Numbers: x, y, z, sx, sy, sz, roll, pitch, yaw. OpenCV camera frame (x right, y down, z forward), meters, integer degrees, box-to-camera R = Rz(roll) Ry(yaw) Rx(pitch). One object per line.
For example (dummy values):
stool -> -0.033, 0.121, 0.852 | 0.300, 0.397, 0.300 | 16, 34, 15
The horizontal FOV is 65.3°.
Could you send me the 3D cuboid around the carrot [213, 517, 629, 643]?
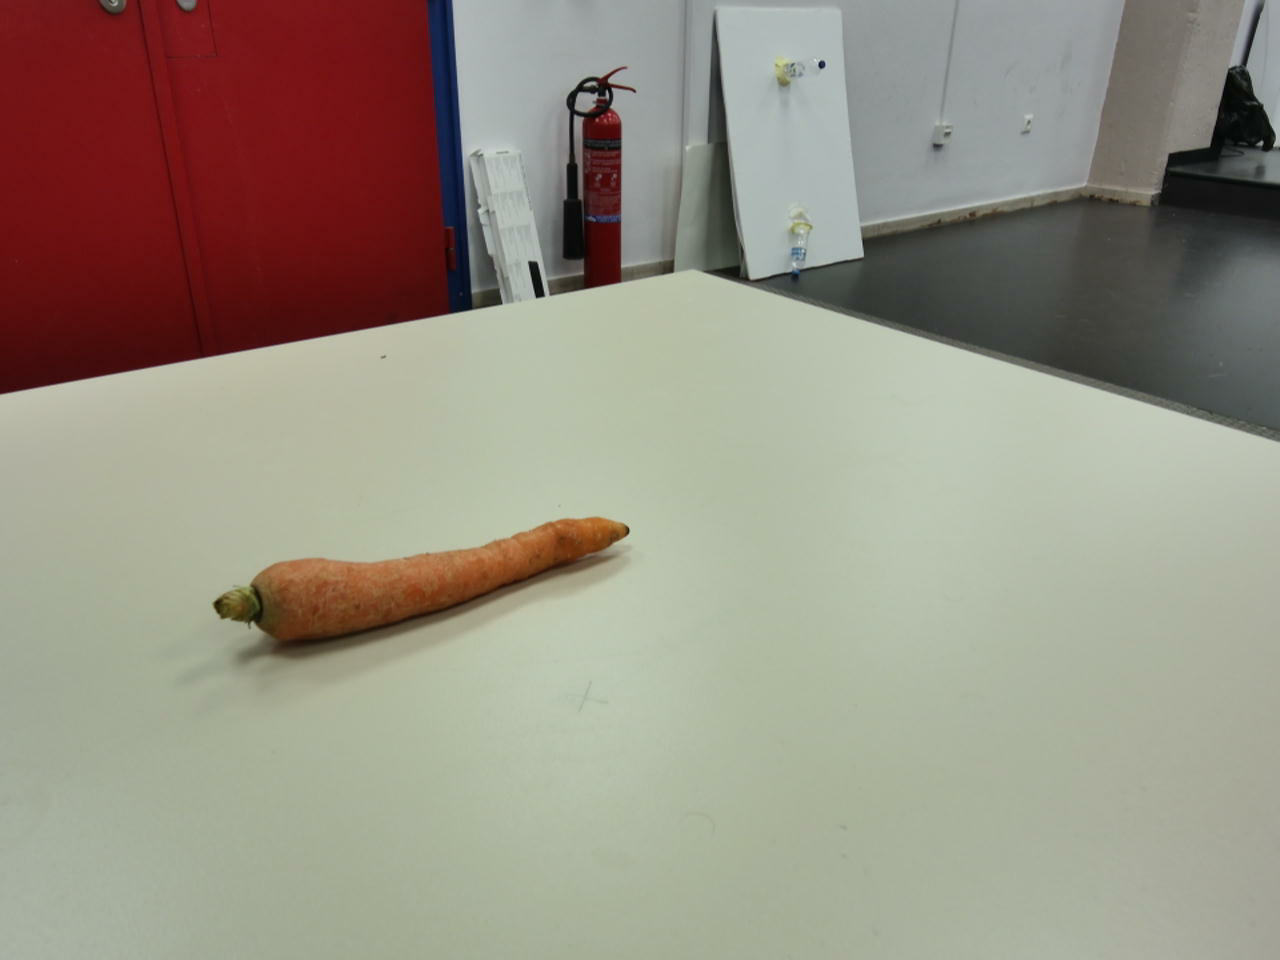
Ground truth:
carrot -> -0.076, 0.034, 0.396 | 0.173, 0.032, 0.030 | -12, 27, -27
